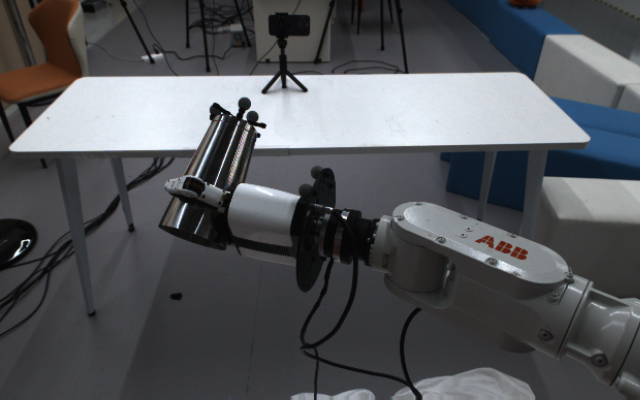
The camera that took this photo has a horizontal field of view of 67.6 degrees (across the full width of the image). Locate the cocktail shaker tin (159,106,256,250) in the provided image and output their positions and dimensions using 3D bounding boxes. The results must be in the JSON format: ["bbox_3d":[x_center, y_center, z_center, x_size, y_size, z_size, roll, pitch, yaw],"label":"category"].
[{"bbox_3d":[-0.146,-0.027,0.658,0.093,0.093,0.170,14,72,16],"label":"cocktail shaker tin"}]
